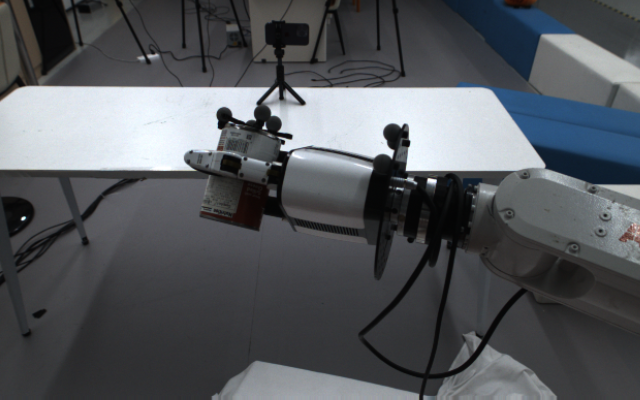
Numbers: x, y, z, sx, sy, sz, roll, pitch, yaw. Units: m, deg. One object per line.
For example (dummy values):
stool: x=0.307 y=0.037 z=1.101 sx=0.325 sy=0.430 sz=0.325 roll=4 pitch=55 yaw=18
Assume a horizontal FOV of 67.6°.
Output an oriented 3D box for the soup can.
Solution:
soup can: x=-0.084 y=-0.022 z=0.523 sx=0.067 sy=0.101 sz=0.067 roll=13 pitch=-6 yaw=1
